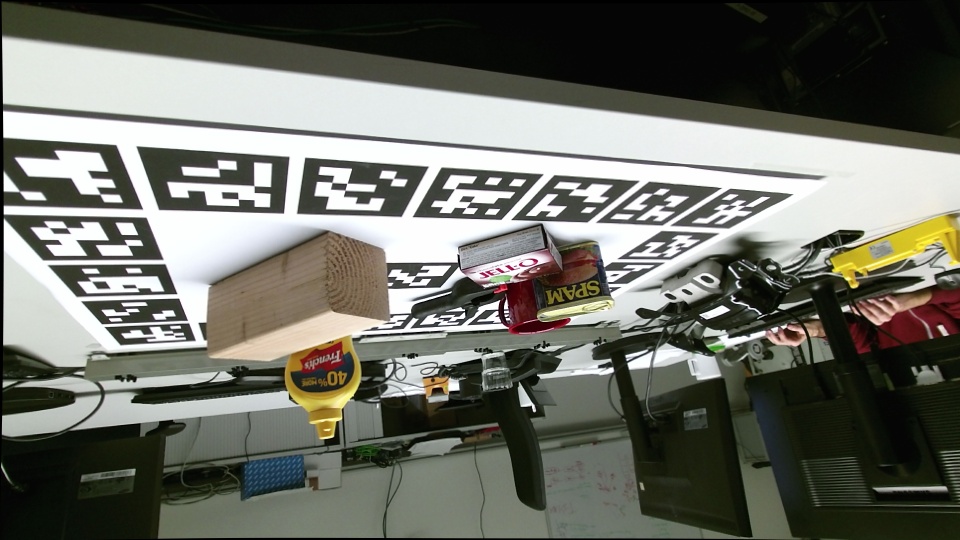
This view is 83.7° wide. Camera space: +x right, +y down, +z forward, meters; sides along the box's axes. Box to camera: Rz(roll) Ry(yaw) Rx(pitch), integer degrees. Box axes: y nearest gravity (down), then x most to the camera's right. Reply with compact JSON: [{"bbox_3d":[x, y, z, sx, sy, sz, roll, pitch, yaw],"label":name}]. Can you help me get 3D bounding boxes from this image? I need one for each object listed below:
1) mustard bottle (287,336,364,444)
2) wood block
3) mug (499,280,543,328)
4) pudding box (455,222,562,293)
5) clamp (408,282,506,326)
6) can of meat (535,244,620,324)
[{"bbox_3d":[-0.204,0.129,0.706,0.096,0.190,0.058,-4,156,-18],"label":"mustard bottle"},{"bbox_3d":[-0.217,0.037,0.623,0.207,0.090,0.090,-20,158,27],"label":"wood block"},{"bbox_3d":[0.072,0.039,0.812,0.093,0.081,0.117,11,148,-42],"label":"mug"},{"bbox_3d":[0.036,-0.013,0.669,0.114,0.038,0.090,-15,157,16],"label":"pudding box"},{"bbox_3d":[-0.019,0.052,0.816,0.122,0.036,0.165,11,148,-39],"label":"clamp"},{"bbox_3d":[0.125,0.020,0.714,0.102,0.083,0.058,-13,157,6],"label":"can of meat"}]
